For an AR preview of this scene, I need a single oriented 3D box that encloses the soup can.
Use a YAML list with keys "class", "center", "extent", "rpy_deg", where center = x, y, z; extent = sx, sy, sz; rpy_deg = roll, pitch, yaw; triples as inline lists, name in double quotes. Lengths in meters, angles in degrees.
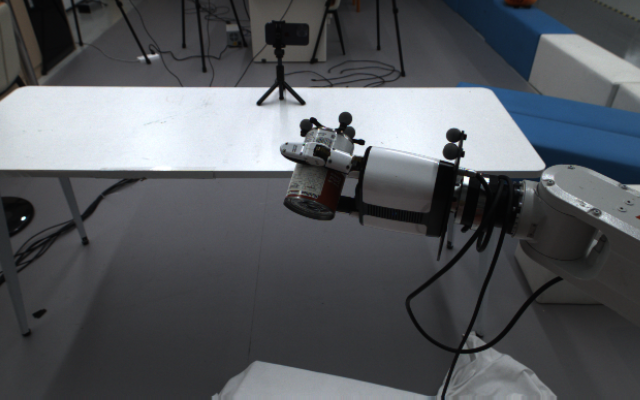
- class: "soup can"
  center: [0.000, -0.034, 0.620]
  extent: [0.067, 0.067, 0.101]
  rpy_deg: [12, 70, 14]
